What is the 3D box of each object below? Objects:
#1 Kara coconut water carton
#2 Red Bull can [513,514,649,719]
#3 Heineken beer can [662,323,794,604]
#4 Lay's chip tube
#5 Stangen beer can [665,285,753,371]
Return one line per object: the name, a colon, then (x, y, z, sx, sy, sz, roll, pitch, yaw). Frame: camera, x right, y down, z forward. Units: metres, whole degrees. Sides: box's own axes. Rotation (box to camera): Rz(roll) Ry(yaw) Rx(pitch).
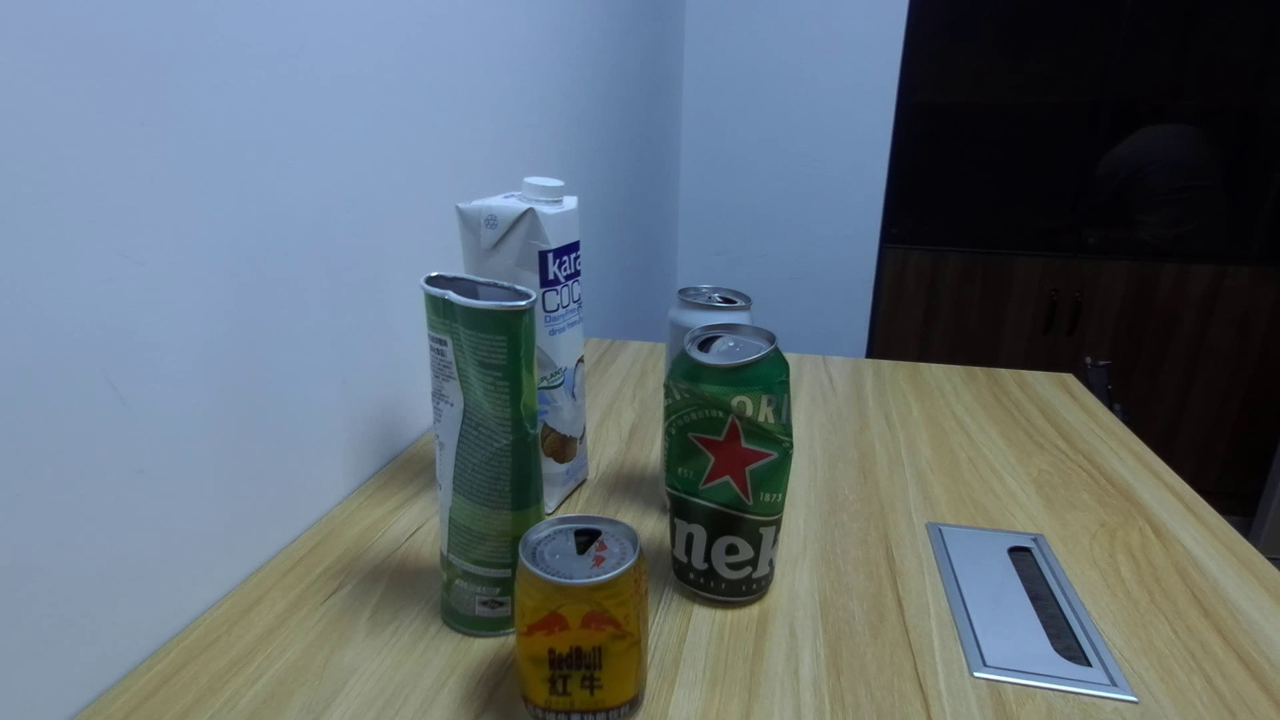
Kara coconut water carton: (-0.084, -0.010, 0.536, 0.075, 0.245, 0.077, 6, 19, 21)
Red Bull can: (-0.029, 0.131, 0.357, 0.072, 0.092, 0.072, 0, 19, 0)
Heineken beer can: (0.054, 0.066, 0.436, 0.069, 0.168, 0.068, -6, 21, -12)
Lay's chip tube: (-0.090, 0.057, 0.411, 0.075, 0.199, 0.069, 2, 19, 5)
Stangen beer can: (0.050, 0.023, 0.544, 0.070, 0.173, 0.070, -5, 32, -11)
